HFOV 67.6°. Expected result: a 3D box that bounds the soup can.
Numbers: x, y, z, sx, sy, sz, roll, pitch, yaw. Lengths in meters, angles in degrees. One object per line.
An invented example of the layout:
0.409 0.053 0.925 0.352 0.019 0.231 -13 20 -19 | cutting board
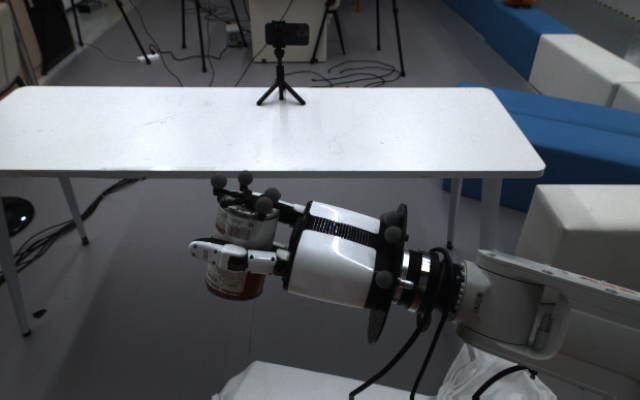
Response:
-0.085 0.052 0.539 0.067 0.101 0.067 13 18 -4 | soup can
